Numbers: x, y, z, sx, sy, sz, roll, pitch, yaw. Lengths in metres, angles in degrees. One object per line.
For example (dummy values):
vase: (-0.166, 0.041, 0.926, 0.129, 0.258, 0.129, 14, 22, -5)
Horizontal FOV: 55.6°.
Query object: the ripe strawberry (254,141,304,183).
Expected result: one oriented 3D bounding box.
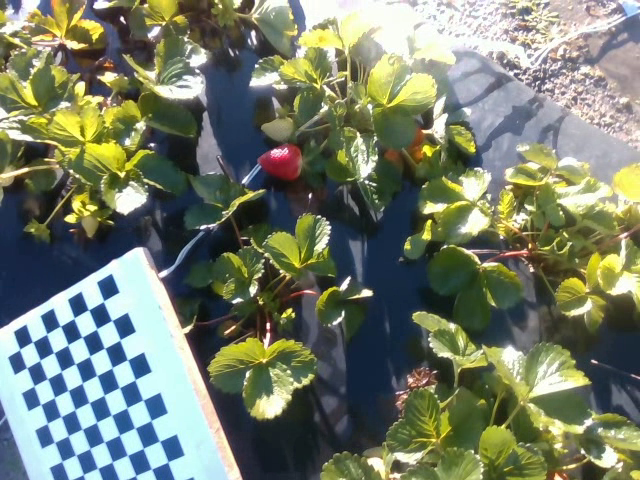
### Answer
ripe strawberry: (-0.053, -0.111, 0.840, 0.080, 0.063, 0.040, -1, 5, -20)
